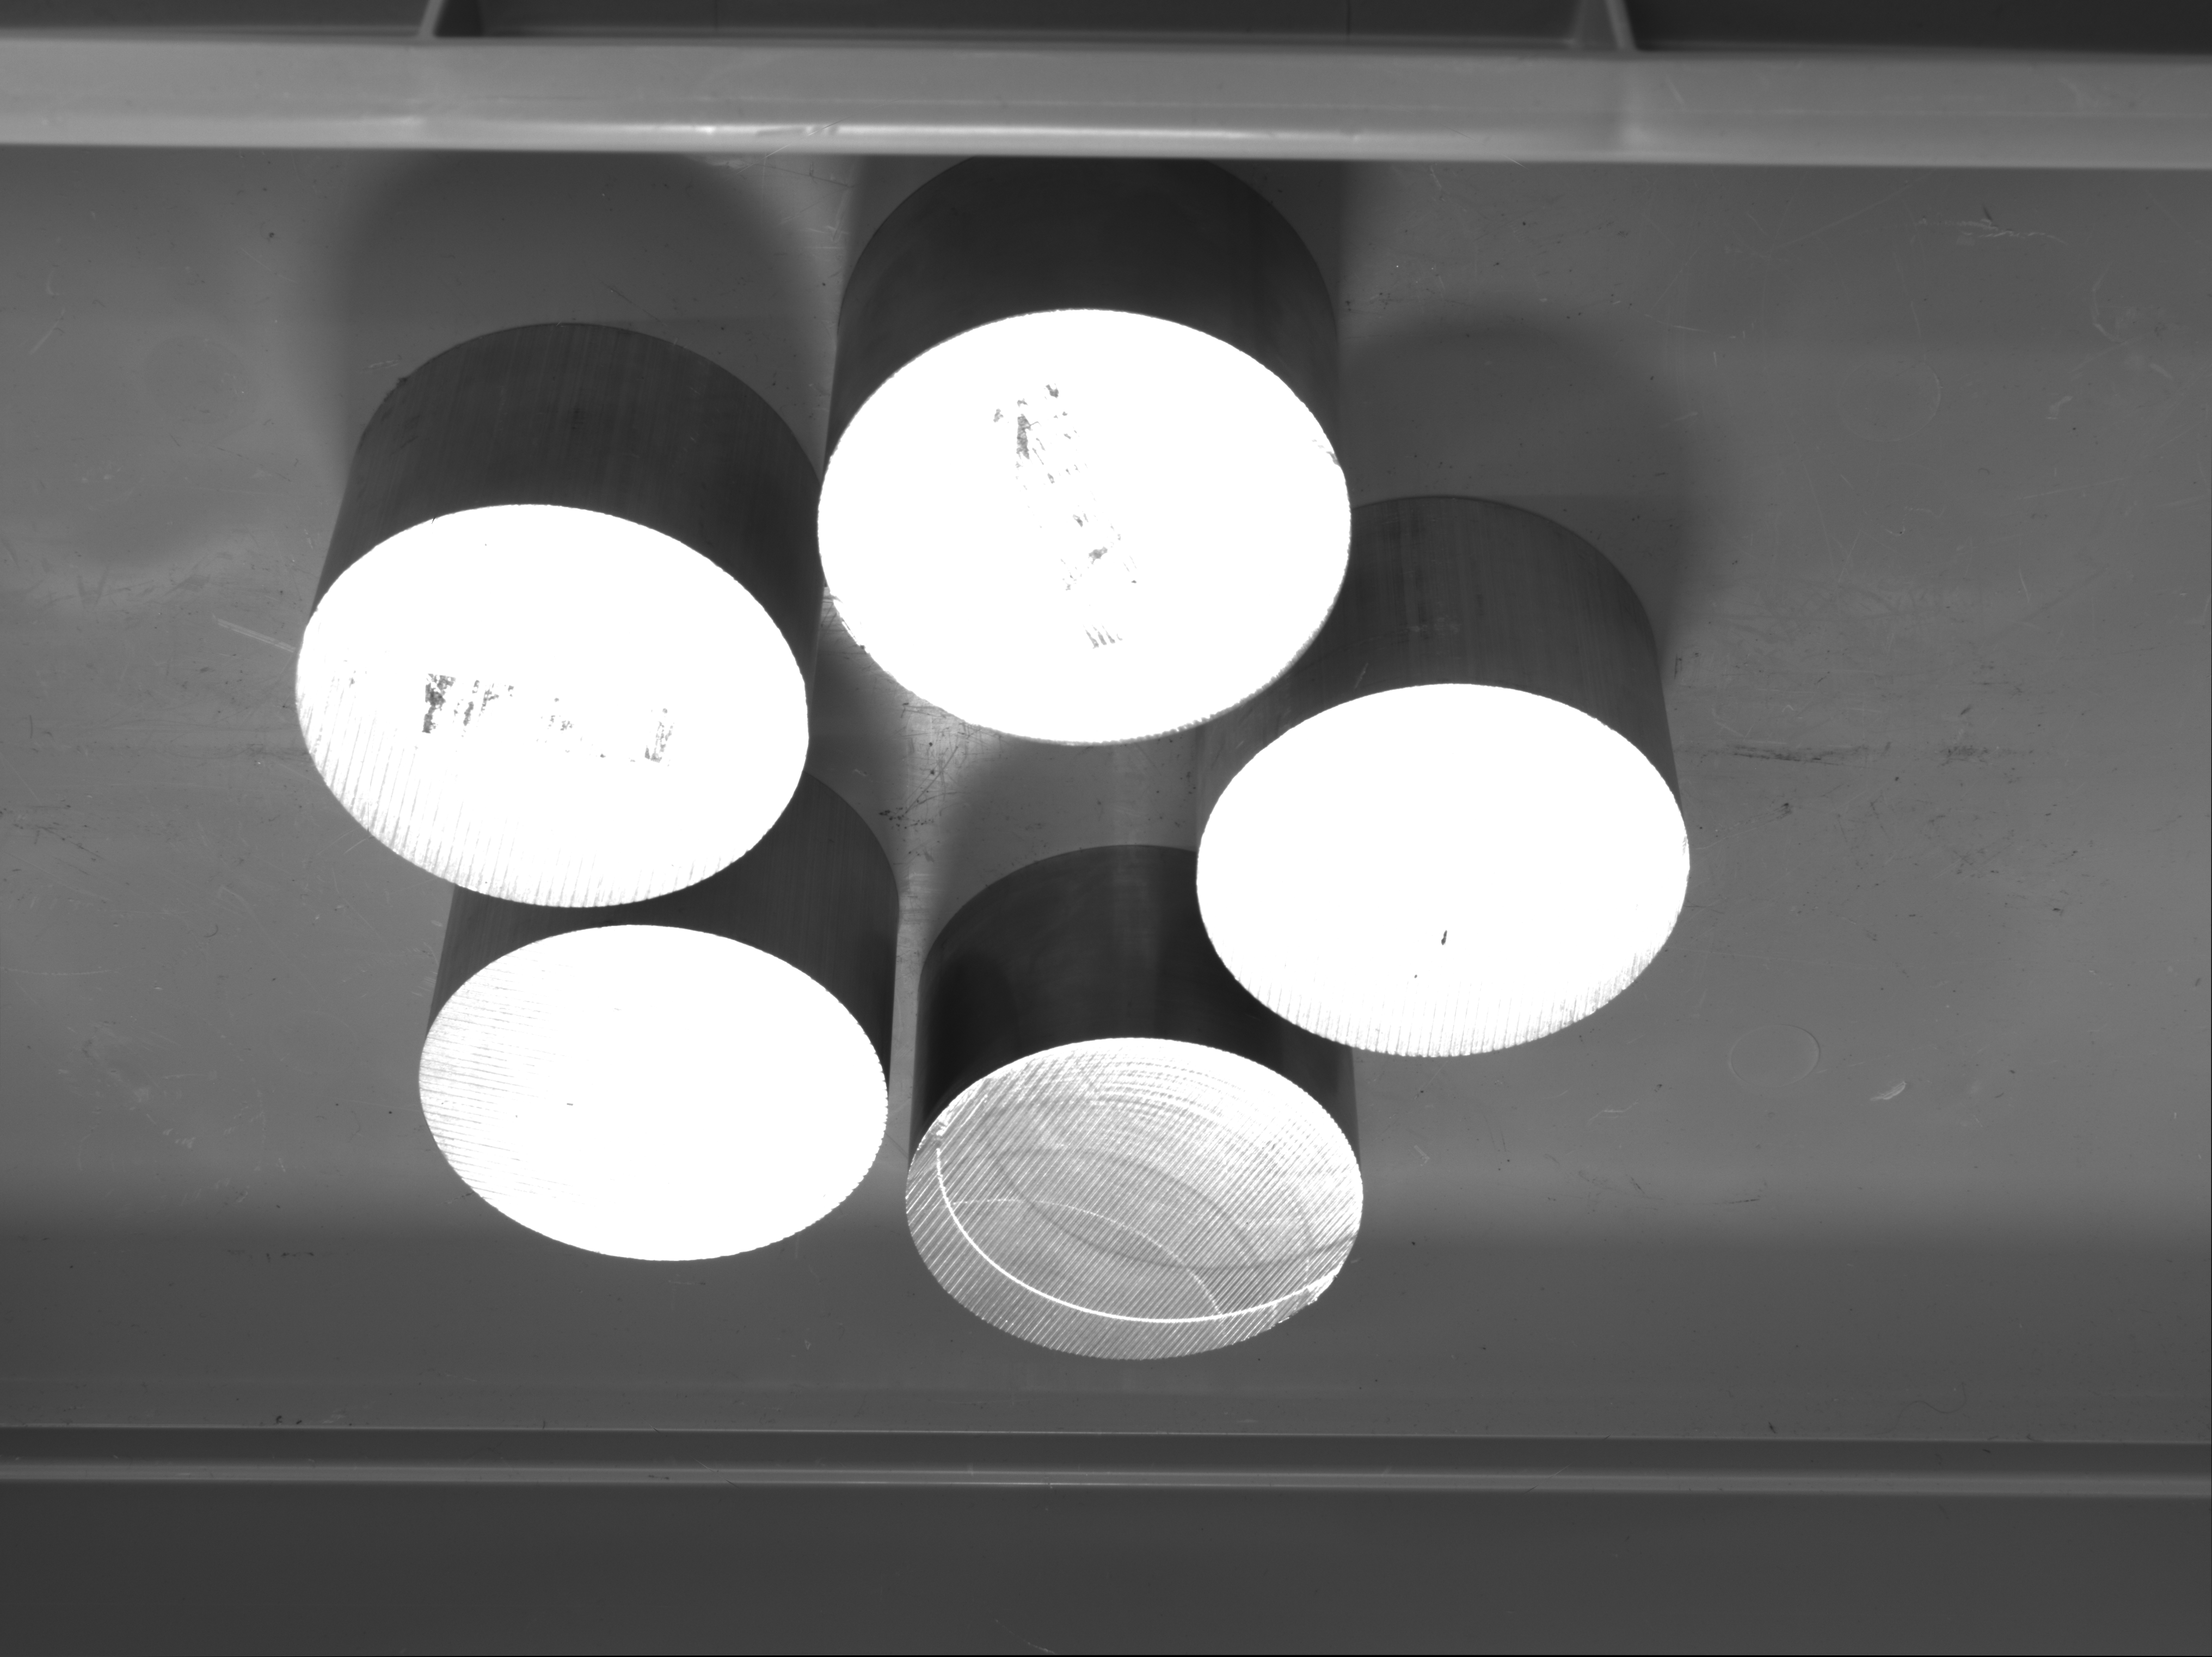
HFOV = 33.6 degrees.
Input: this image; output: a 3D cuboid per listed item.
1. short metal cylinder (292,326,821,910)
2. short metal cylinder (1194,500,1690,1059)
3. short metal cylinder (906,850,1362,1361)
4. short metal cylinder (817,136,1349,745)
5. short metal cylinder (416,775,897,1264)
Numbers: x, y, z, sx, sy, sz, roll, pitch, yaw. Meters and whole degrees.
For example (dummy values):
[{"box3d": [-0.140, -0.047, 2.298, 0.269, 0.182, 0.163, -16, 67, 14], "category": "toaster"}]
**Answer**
[{"box3d": [-0.087, -0.033, 0.592, 0.080, 0.050, 0.080, 0, 130, 0], "category": "short metal cylinder"}, {"box3d": [0.055, -0.008, 0.614, 0.080, 0.050, 0.080, 0, 130, 0], "category": "short metal cylinder"}, {"box3d": [0.005, 0.051, 0.663, 0.080, 0.050, 0.080, 0, 130, 0], "category": "short metal cylinder"}, {"box3d": [-0.003, -0.060, 0.571, 0.080, 0.050, 0.080, 0, 130, 0], "category": "short metal cylinder"}, {"box3d": [-0.078, 0.031, 0.646, 0.080, 0.050, 0.080, 0, 130, 0], "category": "short metal cylinder"}]
